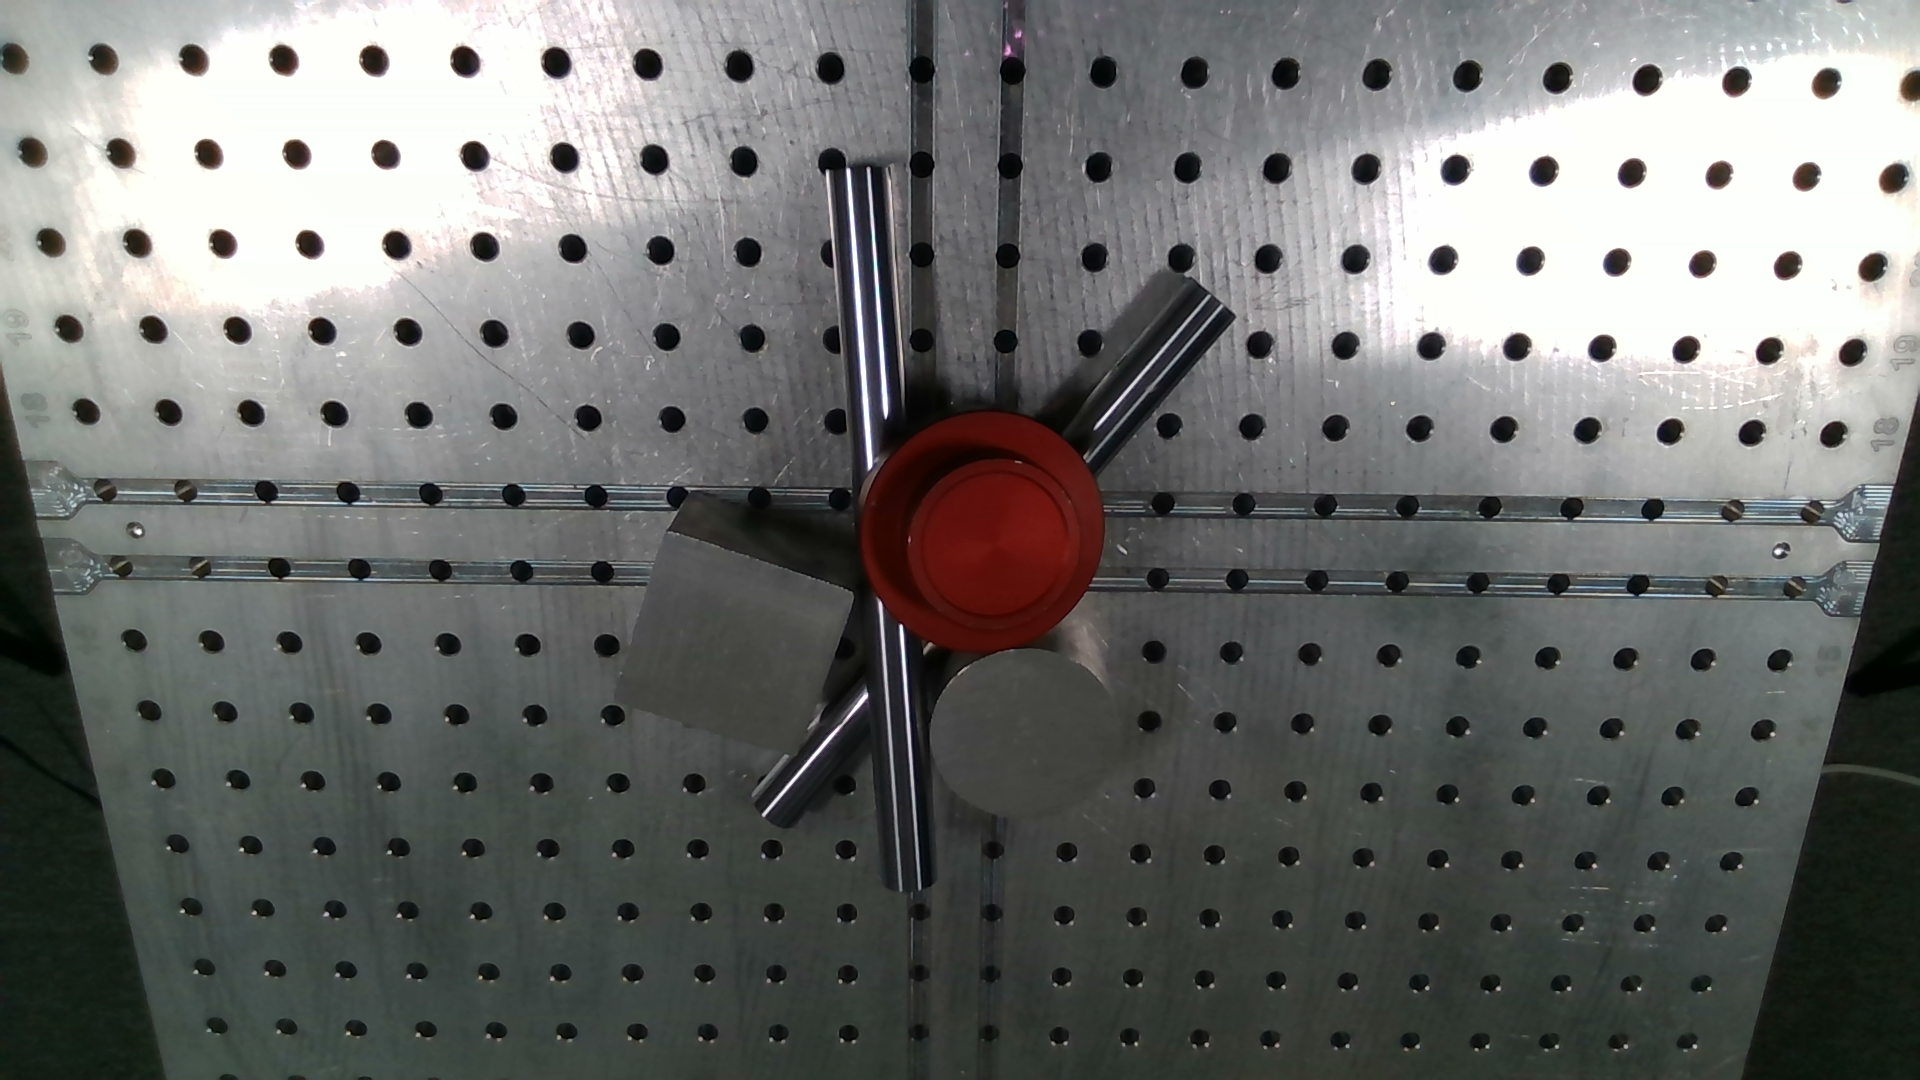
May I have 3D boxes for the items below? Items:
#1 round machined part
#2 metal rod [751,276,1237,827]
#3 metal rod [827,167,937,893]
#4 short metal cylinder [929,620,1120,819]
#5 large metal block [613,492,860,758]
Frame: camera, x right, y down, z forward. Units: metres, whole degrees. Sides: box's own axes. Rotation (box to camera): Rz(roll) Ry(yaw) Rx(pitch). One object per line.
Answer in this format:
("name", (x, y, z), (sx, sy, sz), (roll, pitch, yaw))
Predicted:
("round machined part", (0.009, -0.003, 0.541), (0.098, 0.042, 0.098), (-2, 104, -8))
("metal rod", (0.008, 0.012, 0.592), (0.025, 0.025, 0.300), (37, 106, -12))
("metal rod", (-0.031, 0.002, 0.568), (0.025, 0.025, 0.300), (-3, 103, 1))
("short metal cylinder", (0.027, 0.074, 0.600), (0.080, 0.050, 0.080), (0, 110, 0))
("large metal block", (-0.092, 0.035, 0.585), (0.080, 0.050, 0.080), (19, 109, -7))
